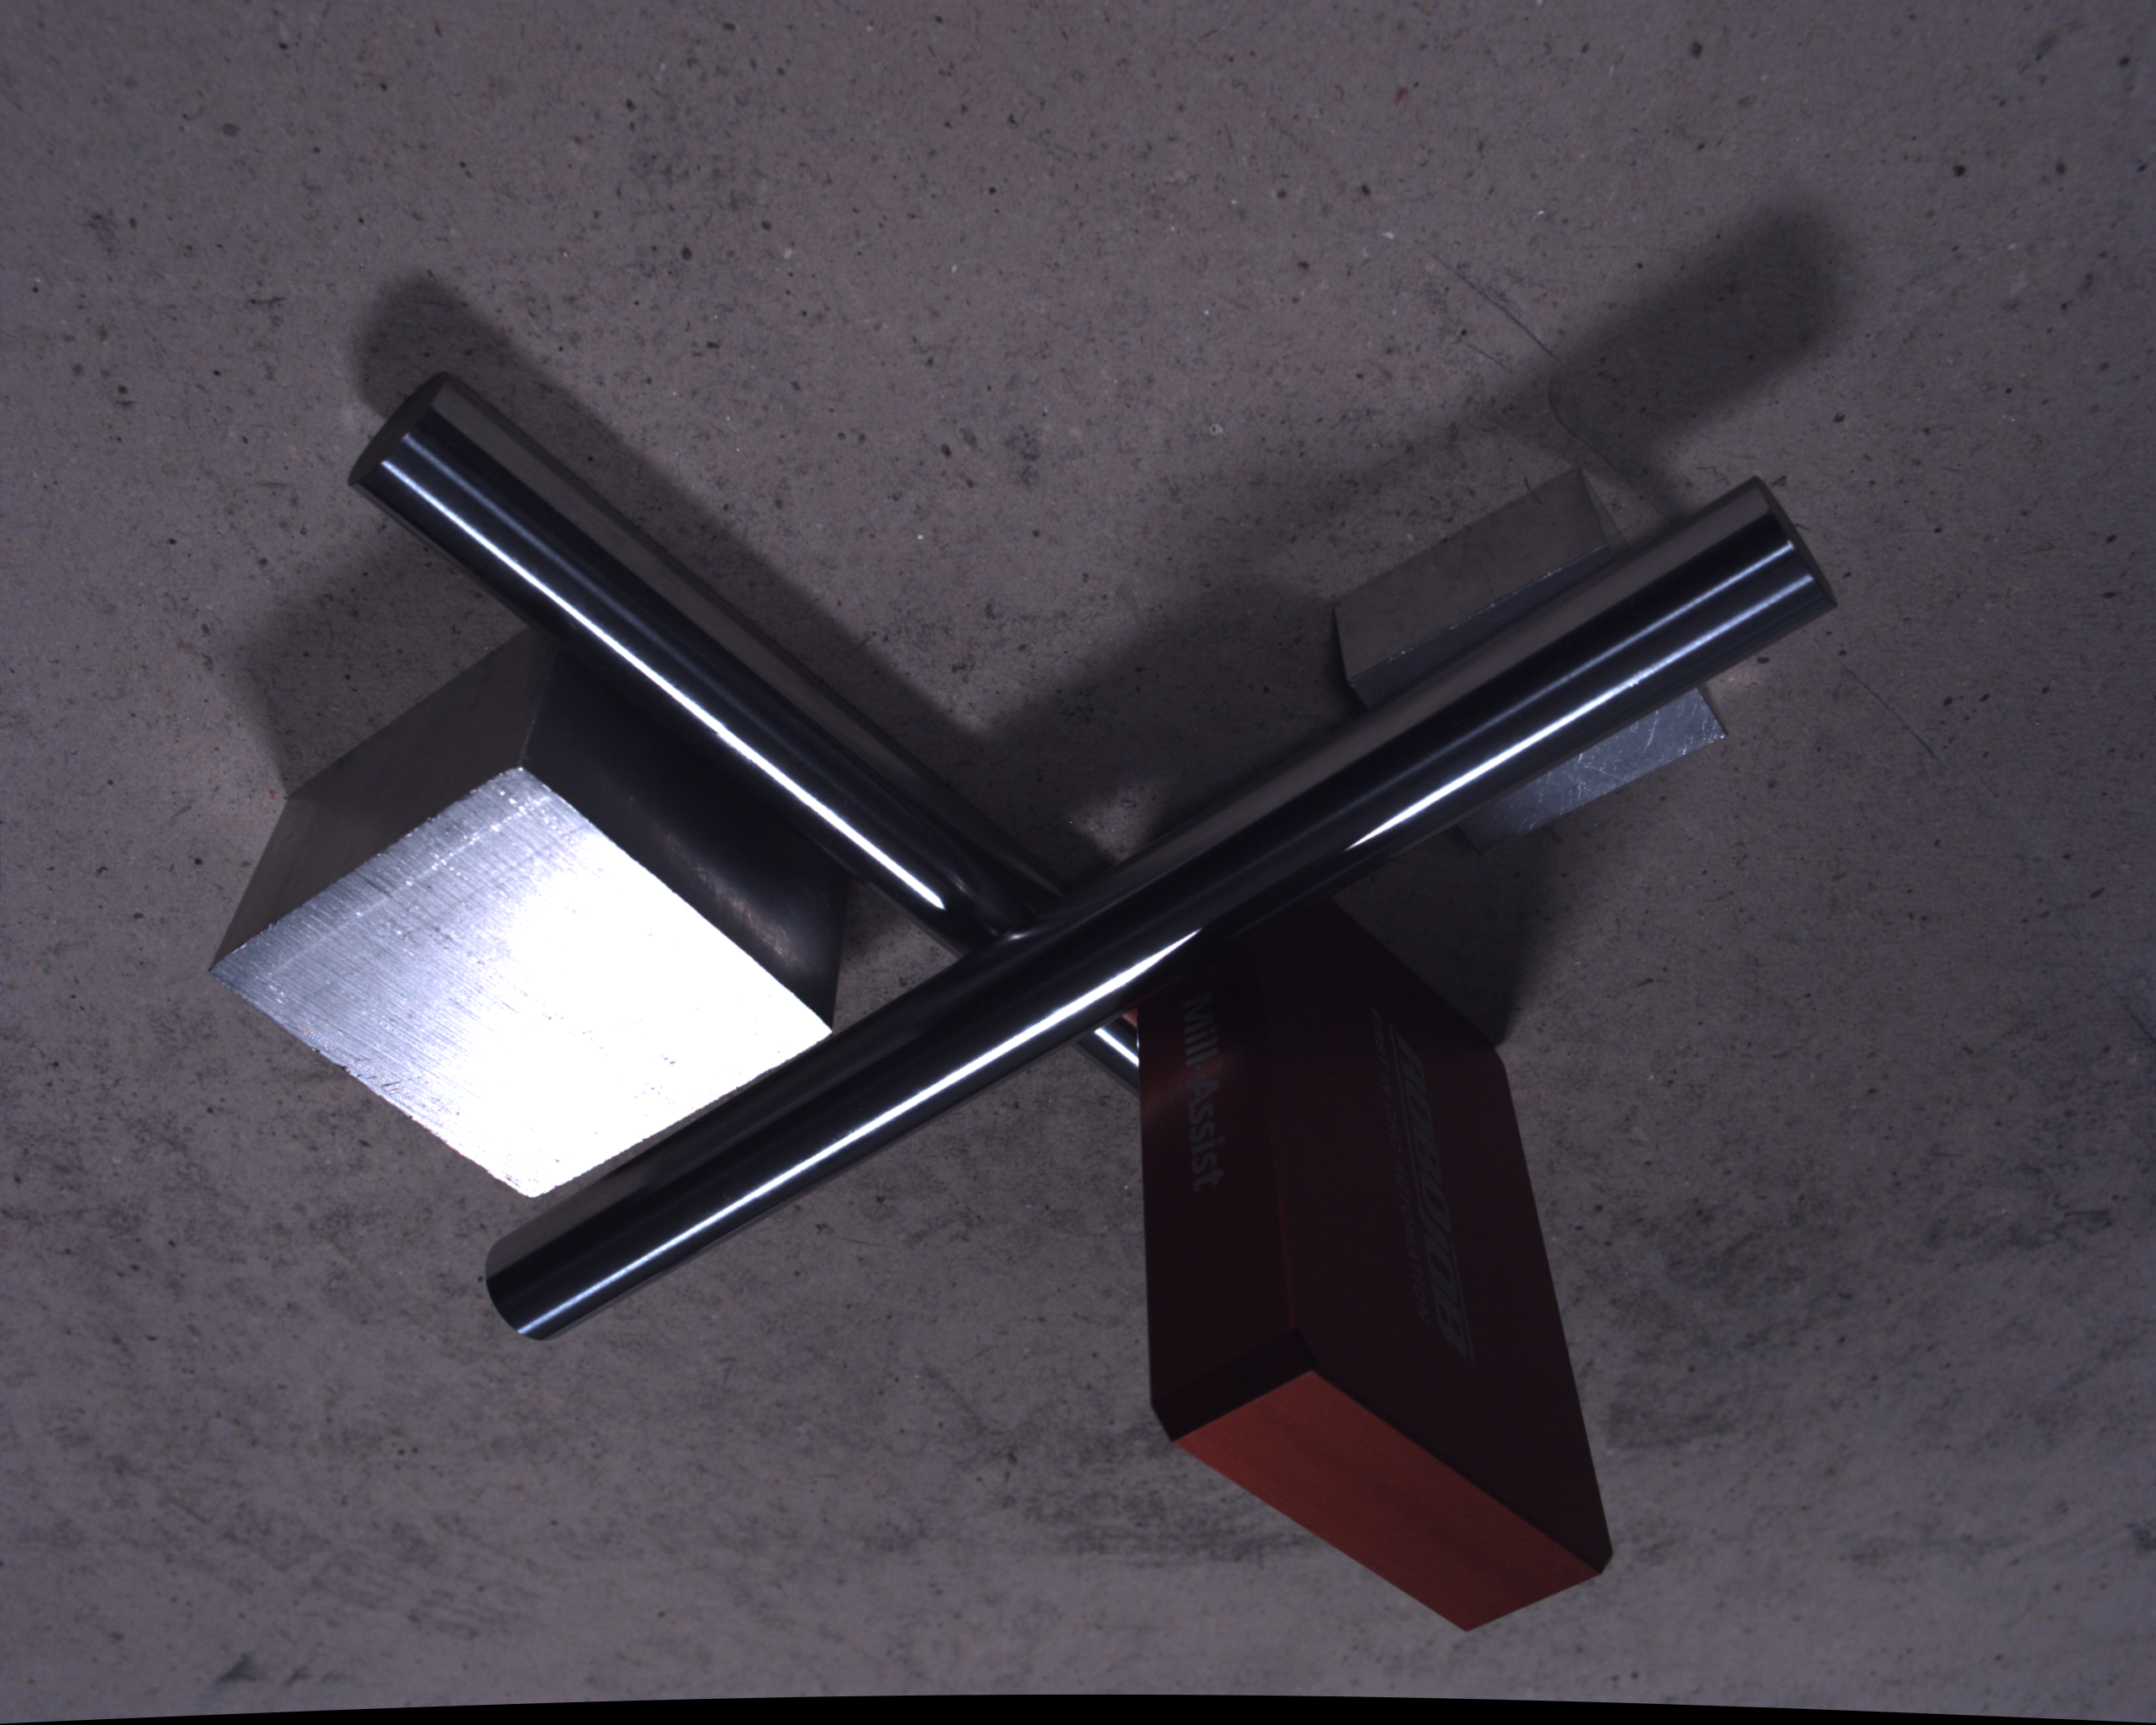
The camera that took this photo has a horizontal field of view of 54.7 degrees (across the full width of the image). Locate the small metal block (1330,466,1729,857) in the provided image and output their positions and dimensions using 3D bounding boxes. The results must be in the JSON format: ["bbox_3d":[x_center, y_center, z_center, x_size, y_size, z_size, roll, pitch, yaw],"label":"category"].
[{"bbox_3d":[0.082,-0.035,0.380,0.050,0.025,0.050,-28,125,21],"label":"small metal block"}]

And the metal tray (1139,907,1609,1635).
[{"bbox_3d":[0.053,0.066,0.396,0.030,0.130,0.090,-35,122,26],"label":"metal tray"}]

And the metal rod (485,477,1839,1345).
[{"bbox_3d":[-0.002,0.021,0.393,0.300,0.025,0.025,-32,124,23],"label":"metal rod"}]

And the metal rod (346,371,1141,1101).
[{"bbox_3d":[-0.013,0.012,0.419,0.025,0.025,0.301,-35,123,25],"label":"metal rod"}]

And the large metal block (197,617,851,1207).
[{"bbox_3d":[-0.101,0.010,0.398,0.080,0.050,0.080,-30,125,22],"label":"large metal block"}]
